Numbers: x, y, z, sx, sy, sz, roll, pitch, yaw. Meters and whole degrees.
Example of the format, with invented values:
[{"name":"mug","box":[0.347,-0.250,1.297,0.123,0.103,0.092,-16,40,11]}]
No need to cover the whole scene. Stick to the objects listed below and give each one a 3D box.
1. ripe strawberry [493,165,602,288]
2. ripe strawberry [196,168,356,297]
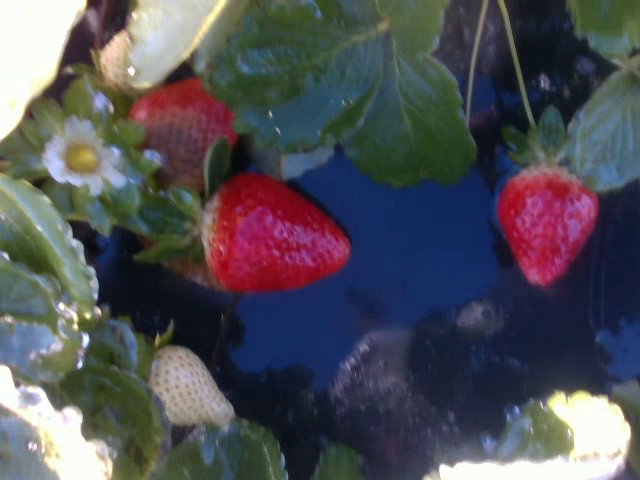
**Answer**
[{"name":"ripe strawberry","box":[0.082,-0.004,0.214,0.039,0.047,0.040,4,7,-12]},{"name":"ripe strawberry","box":[-0.012,0.004,0.214,0.056,0.044,0.040,15,15,-15]}]
